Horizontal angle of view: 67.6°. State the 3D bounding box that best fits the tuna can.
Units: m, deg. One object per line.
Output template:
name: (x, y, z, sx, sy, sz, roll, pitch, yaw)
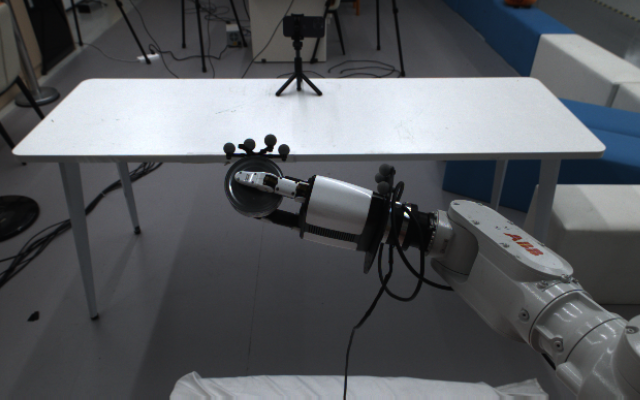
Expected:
tuna can: (-0.089, -0.019, 0.693, 0.085, 0.034, 0.085, 1, 70, -3)
